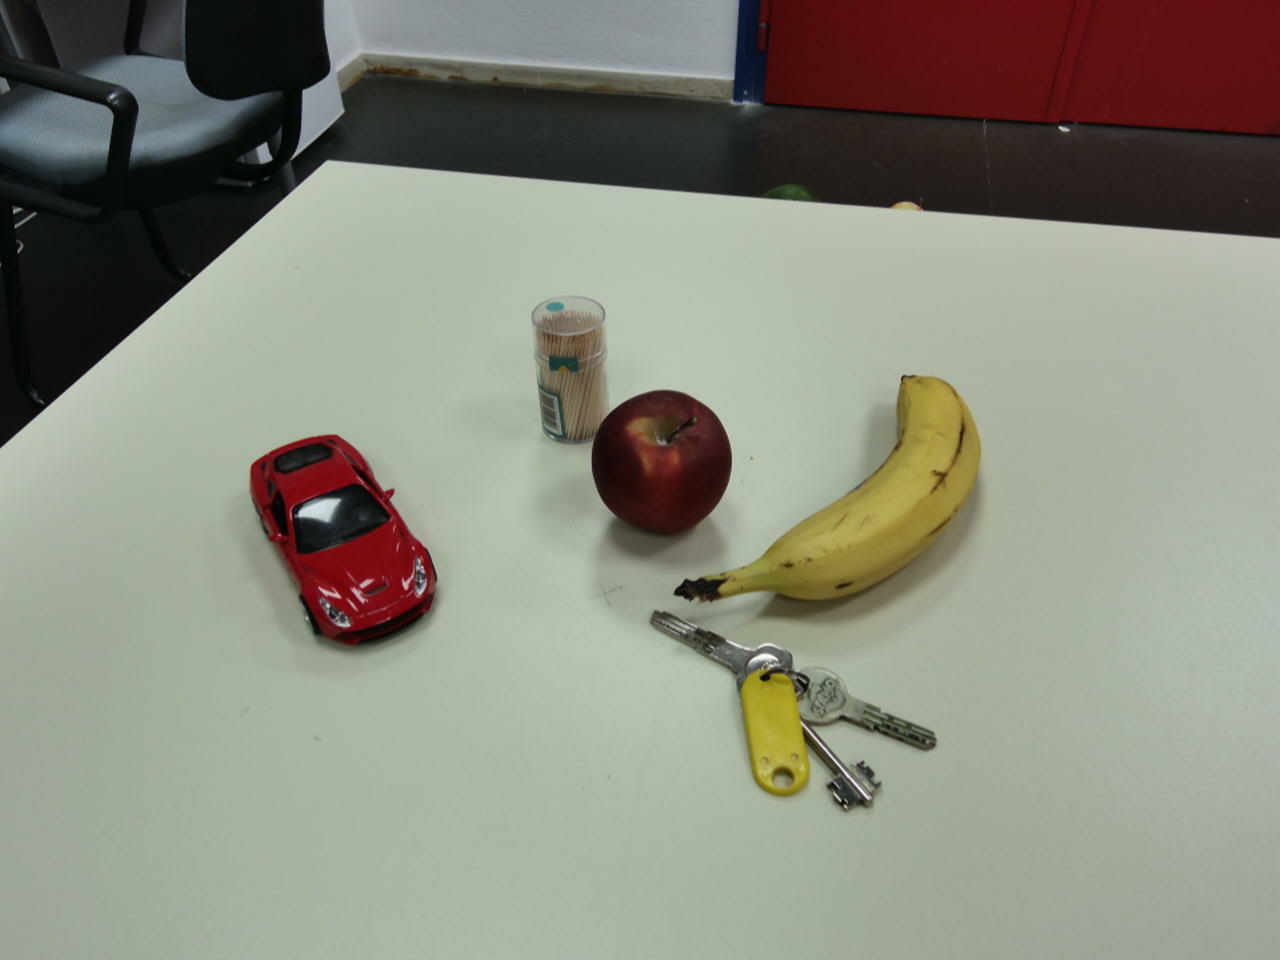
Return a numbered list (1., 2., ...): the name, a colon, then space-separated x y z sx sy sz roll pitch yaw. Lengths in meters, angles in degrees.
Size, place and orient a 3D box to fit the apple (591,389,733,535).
1. apple: 0.011 -0.008 0.489 0.070 0.072 0.070 1 39 0
